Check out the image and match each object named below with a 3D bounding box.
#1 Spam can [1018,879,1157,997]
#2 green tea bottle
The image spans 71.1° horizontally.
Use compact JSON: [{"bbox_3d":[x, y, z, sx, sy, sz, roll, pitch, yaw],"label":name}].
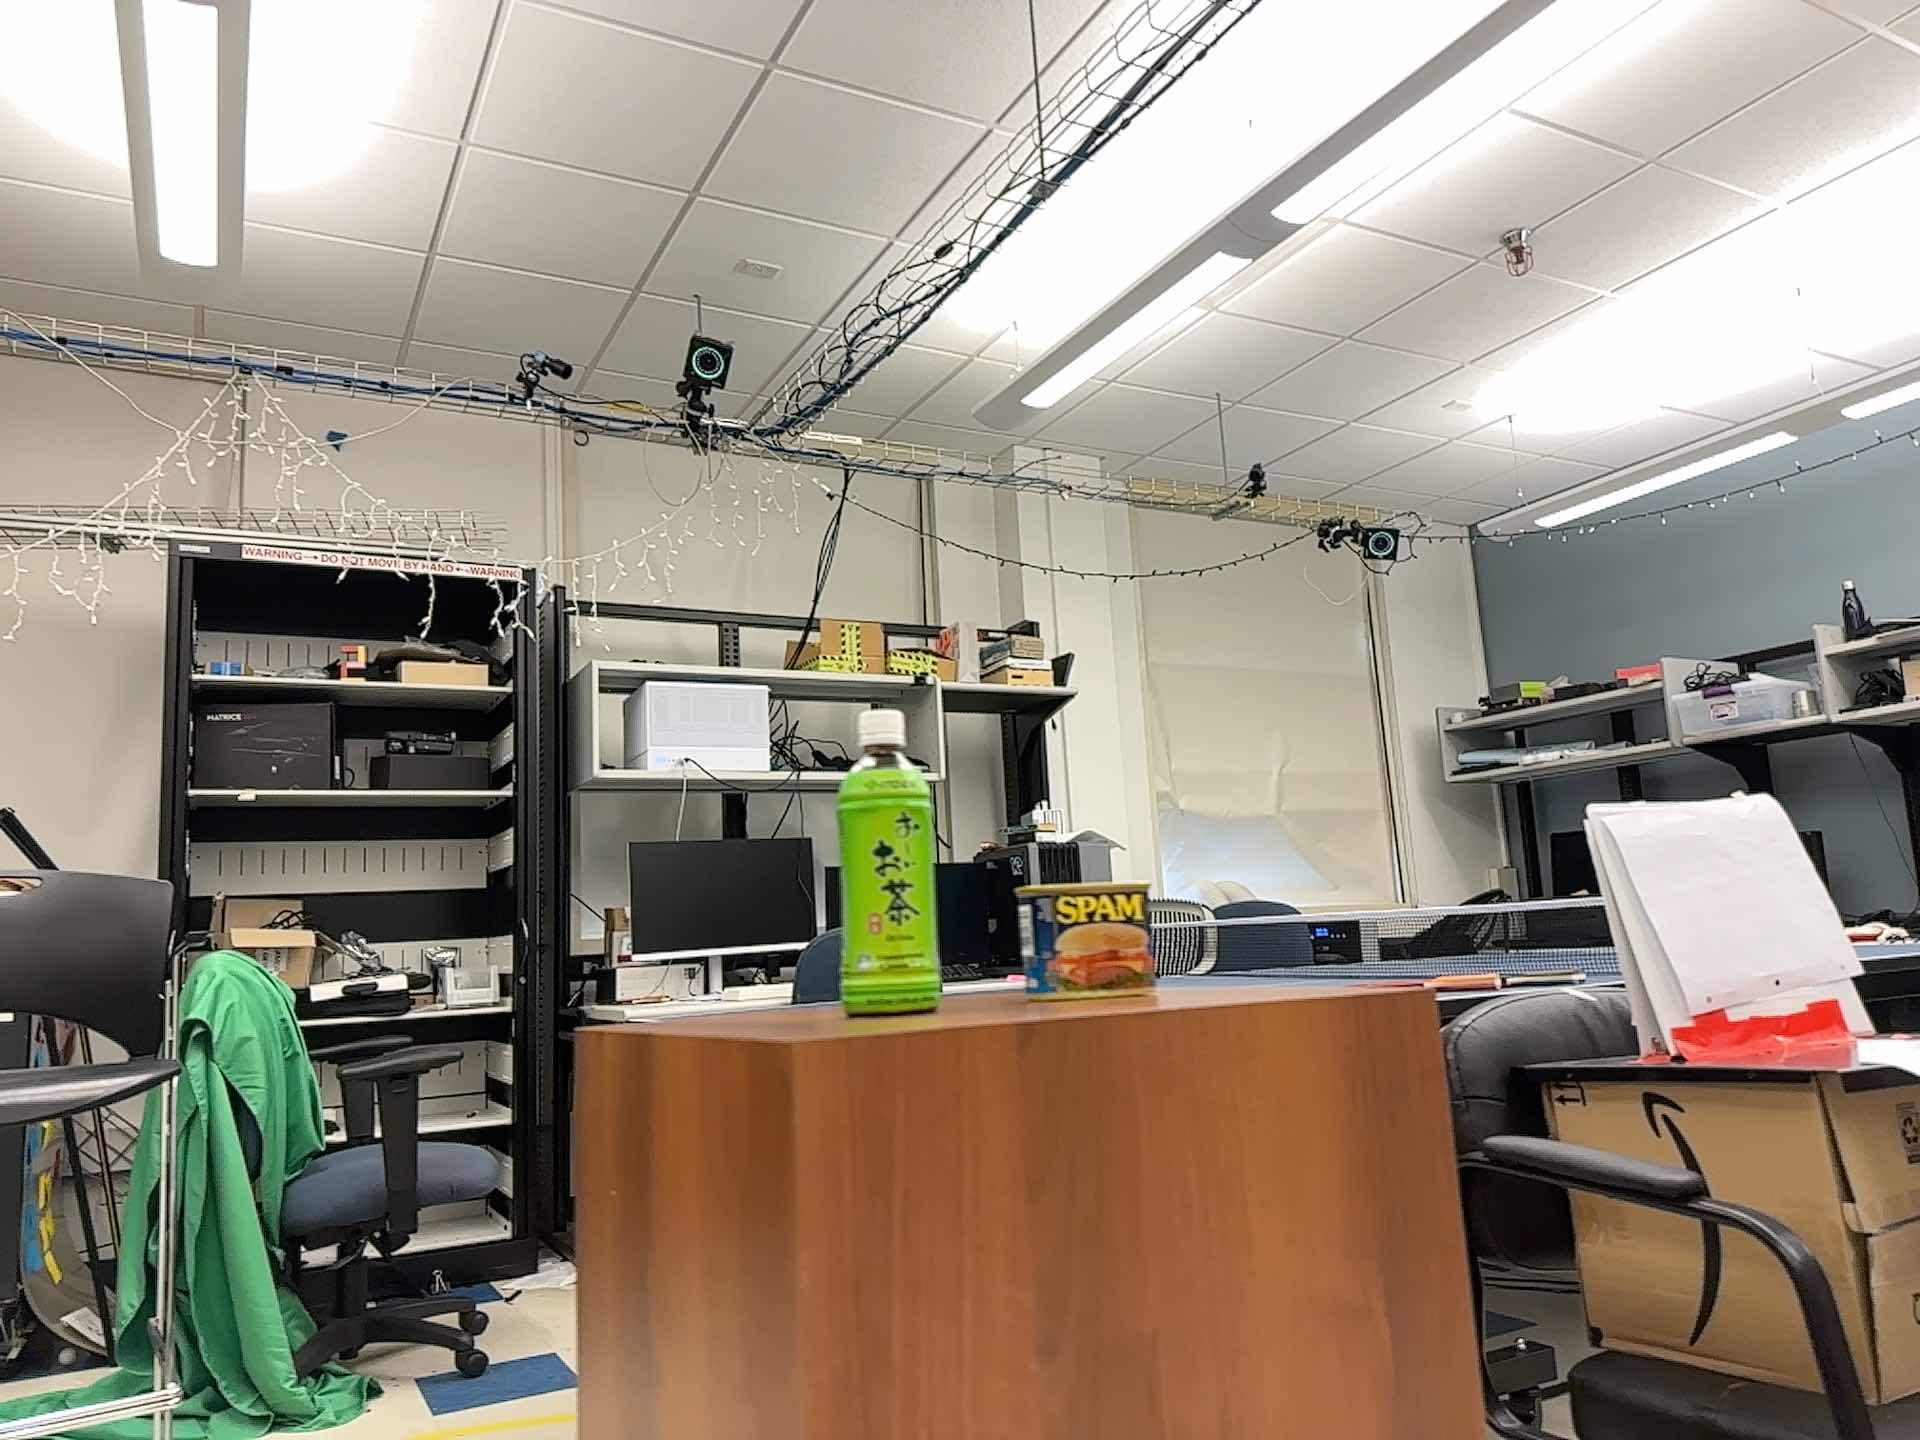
[{"bbox_3d":[0.099,0.168,1.034,0.100,0.083,0.056,1,-11,-19],"label":"Spam can"},{"bbox_3d":[-0.052,0.093,0.947,0.073,0.212,0.073,-4,-10,-1],"label":"green tea bottle"}]
